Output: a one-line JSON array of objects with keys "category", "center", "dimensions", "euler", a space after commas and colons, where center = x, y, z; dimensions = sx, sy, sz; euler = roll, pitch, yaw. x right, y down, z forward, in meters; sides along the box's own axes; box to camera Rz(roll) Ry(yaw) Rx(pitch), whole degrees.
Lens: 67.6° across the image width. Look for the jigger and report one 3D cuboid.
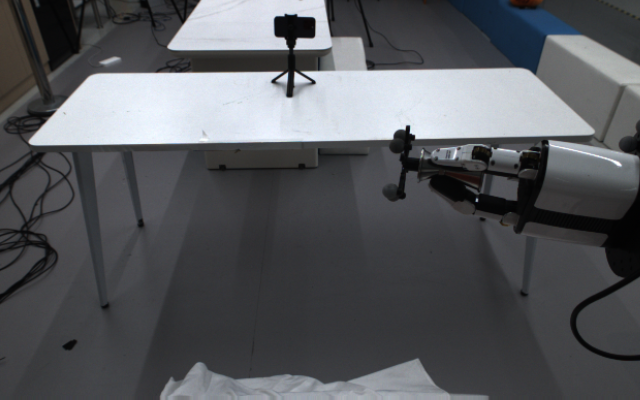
[{"category": "jigger", "center": [0.152, -0.038, 0.537], "dimensions": [0.071, 0.043, 0.043], "euler": [8, 35, 14]}]
